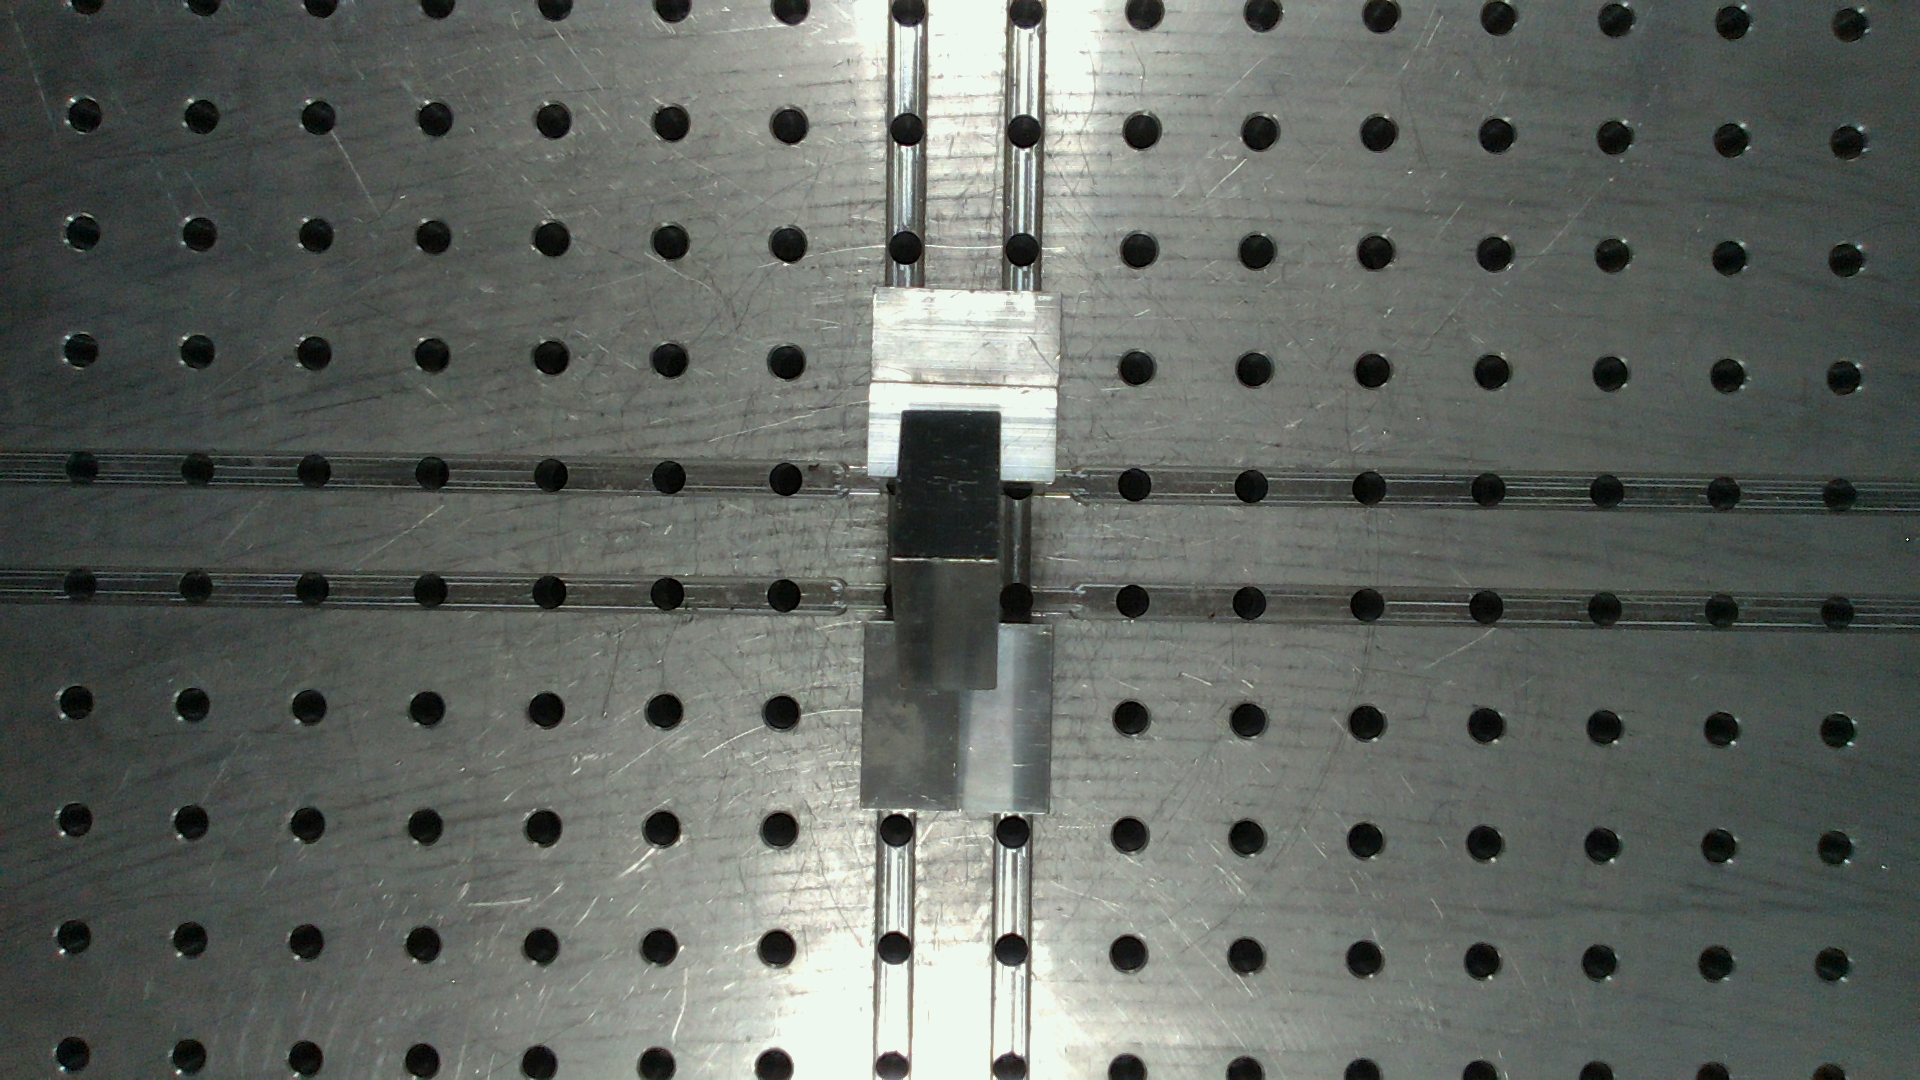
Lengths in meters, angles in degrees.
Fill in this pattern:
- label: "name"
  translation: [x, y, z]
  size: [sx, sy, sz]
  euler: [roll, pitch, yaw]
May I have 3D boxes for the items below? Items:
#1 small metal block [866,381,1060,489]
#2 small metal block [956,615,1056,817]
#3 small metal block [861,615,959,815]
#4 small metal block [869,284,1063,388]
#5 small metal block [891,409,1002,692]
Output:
- label: "small metal block"
  translation: [0.001, -0.028, 0.384]
  size: [0.050, 0.050, 0.025]
  euler: [2, 90, 0]
- label: "small metal block"
  translation: [0.012, 0.047, 0.384]
  size: [0.025, 0.050, 0.050]
  euler: [1, 90, 0]
- label: "small metal block"
  translation: [-0.013, 0.047, 0.385]
  size: [0.025, 0.050, 0.050]
  euler: [1, 90, 0]
- label: "small metal block"
  translation: [0.002, -0.054, 0.384]
  size: [0.050, 0.050, 0.025]
  euler: [2, 90, 0]
- label: "small metal block"
  translation: [-0.002, 0.003, 0.344]
  size: [0.025, 0.050, 0.050]
  euler: [0, 48, 1]
